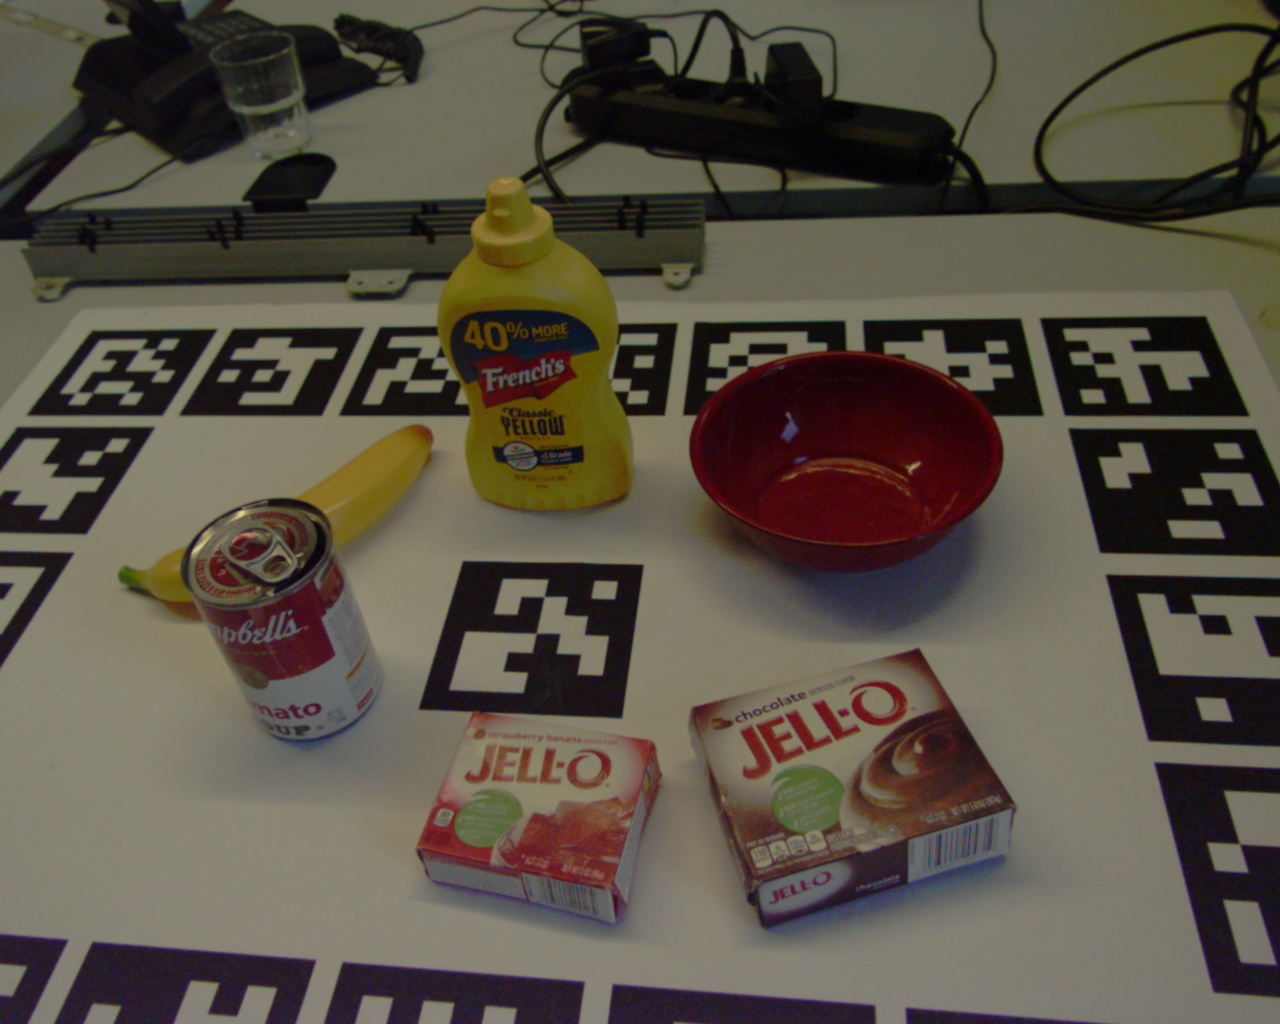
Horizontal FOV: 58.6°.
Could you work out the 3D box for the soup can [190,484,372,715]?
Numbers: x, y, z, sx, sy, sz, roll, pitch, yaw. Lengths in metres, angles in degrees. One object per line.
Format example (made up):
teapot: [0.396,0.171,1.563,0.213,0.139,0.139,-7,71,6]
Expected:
soup can: [-0.178,0.046,0.577,0.068,0.101,0.068,-2,42,1]

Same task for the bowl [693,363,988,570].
bowl: [0.113,-0.018,0.654,0.162,0.055,0.162,-5,43,4]

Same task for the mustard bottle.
mustard bottle: [-0.060,-0.092,0.638,0.096,0.190,0.058,2,41,8]

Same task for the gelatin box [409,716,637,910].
gelatin box: [-0.052,0.137,0.529,0.090,0.030,0.073,6,48,14]

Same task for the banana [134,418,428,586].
banana: [-0.204,-0.004,0.691,0.196,0.038,0.075,-34,39,-25]

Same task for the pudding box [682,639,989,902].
pudding box: [0.086,0.117,0.524,0.113,0.038,0.091,-16,49,-9]
